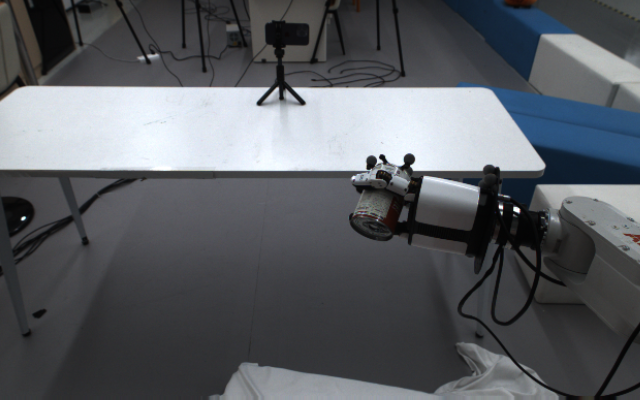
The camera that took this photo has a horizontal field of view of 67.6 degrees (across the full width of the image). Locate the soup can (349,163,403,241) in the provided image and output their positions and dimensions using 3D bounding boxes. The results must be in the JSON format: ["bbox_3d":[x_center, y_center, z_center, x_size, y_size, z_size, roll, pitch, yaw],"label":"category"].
[{"bbox_3d":[0.094,0.001,0.741,0.067,0.067,0.101,15,63,18],"label":"soup can"}]
